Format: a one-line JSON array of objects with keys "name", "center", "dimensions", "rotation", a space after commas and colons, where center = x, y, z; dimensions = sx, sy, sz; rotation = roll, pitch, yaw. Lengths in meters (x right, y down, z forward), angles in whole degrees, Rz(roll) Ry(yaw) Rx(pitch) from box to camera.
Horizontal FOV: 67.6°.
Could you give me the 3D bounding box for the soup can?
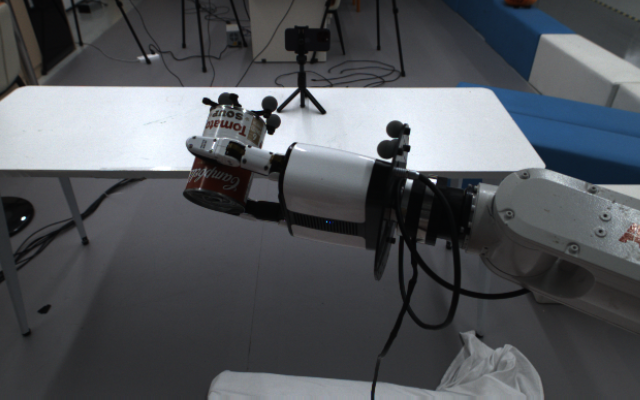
[{"name": "soup can", "center": [-0.101, -0.044, 0.532], "dimensions": [0.067, 0.067, 0.101], "rotation": [9, 72, 10]}]
